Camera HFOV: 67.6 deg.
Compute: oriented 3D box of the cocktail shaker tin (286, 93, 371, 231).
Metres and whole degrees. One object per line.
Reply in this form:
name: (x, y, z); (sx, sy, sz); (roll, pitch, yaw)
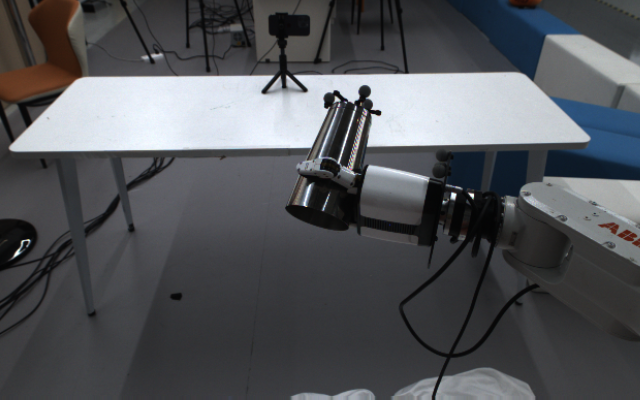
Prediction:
cocktail shaker tin: (0.018, -0.052, 0.692); (0.093, 0.093, 0.170); (14, 72, 16)
